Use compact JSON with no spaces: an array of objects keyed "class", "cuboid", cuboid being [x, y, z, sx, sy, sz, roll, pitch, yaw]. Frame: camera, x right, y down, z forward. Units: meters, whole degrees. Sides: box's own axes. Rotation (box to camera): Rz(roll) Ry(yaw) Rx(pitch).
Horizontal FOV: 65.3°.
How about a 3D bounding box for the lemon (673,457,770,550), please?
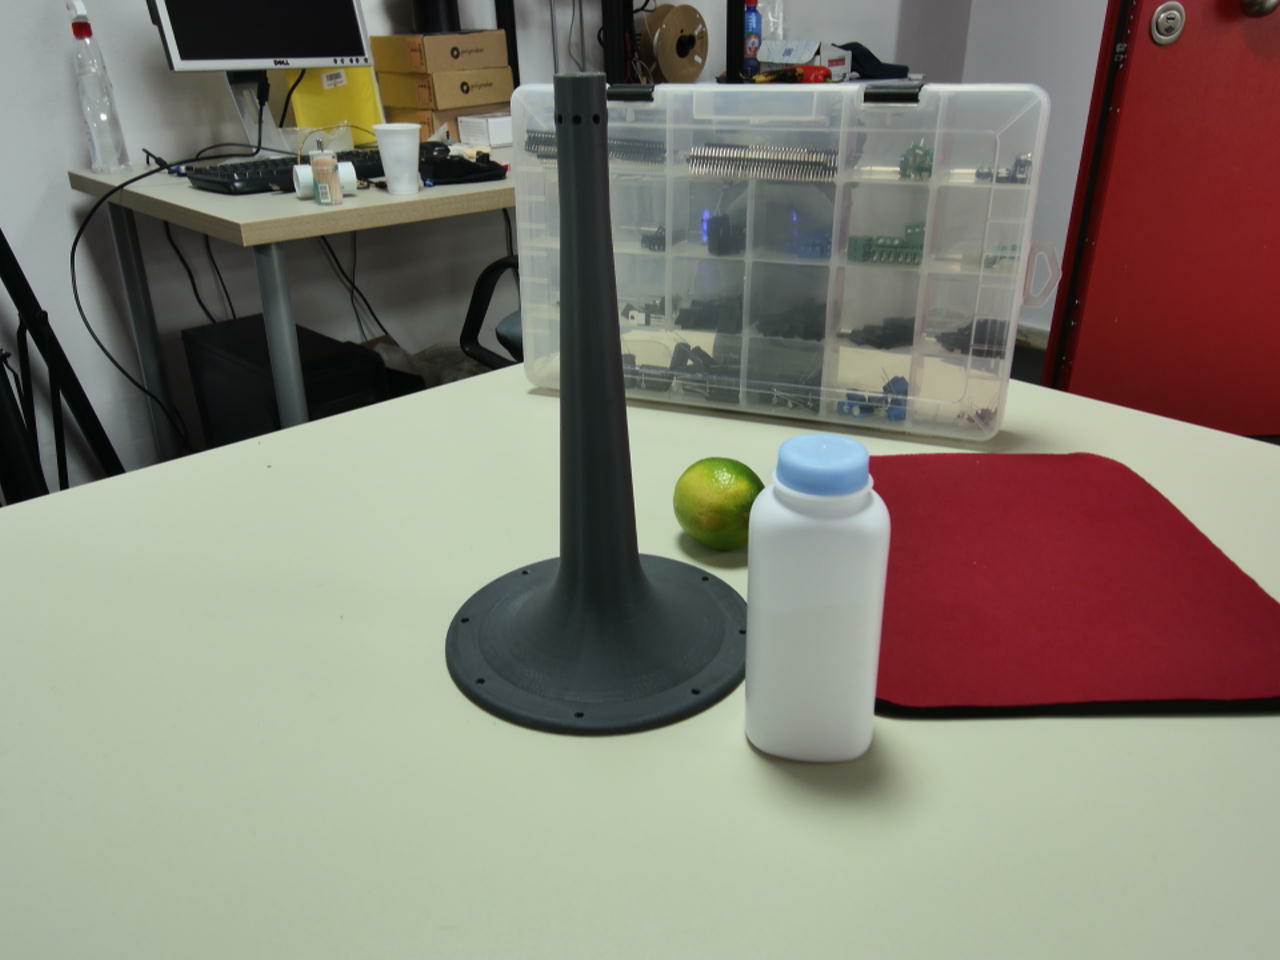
[{"class":"lemon","cuboid":[0.046,0.013,0.563,0.054,0.050,0.055,3,24,8]}]
